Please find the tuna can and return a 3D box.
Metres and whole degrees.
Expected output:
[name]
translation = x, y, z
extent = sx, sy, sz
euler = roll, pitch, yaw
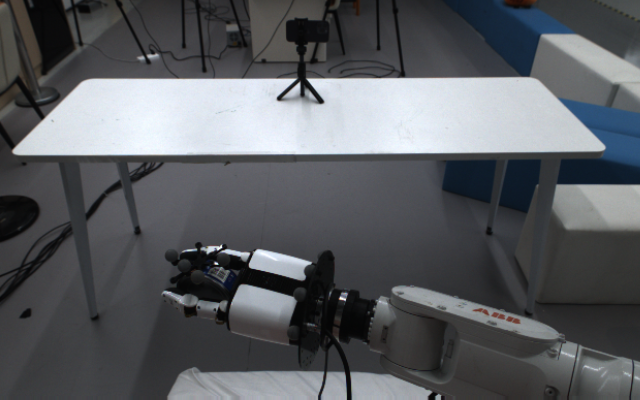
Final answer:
[tuna can]
translation = -0.150, 0.125, 0.672
extent = 0.085, 0.085, 0.034
euler = 11, 38, 12
